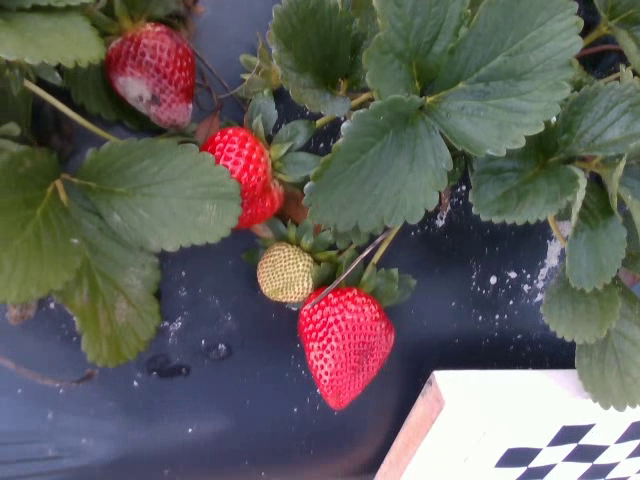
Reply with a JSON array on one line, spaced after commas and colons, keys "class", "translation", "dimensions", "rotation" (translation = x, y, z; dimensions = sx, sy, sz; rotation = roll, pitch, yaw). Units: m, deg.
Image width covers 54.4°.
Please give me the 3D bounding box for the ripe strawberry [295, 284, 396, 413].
[{"class": "ripe strawberry", "translation": [0.010, 0.057, 0.304], "dimensions": [0.057, 0.065, 0.056], "rotation": [-13, -41, 25]}]
